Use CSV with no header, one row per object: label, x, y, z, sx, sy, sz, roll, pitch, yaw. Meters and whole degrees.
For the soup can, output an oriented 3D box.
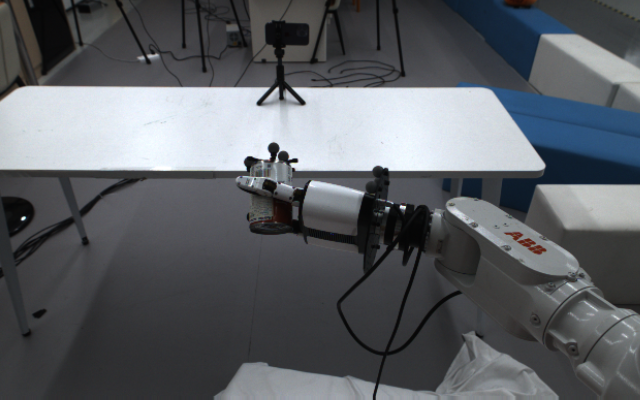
soup can,-0.074,-0.003,0.743,0.067,0.067,0.101,-1,72,-5
